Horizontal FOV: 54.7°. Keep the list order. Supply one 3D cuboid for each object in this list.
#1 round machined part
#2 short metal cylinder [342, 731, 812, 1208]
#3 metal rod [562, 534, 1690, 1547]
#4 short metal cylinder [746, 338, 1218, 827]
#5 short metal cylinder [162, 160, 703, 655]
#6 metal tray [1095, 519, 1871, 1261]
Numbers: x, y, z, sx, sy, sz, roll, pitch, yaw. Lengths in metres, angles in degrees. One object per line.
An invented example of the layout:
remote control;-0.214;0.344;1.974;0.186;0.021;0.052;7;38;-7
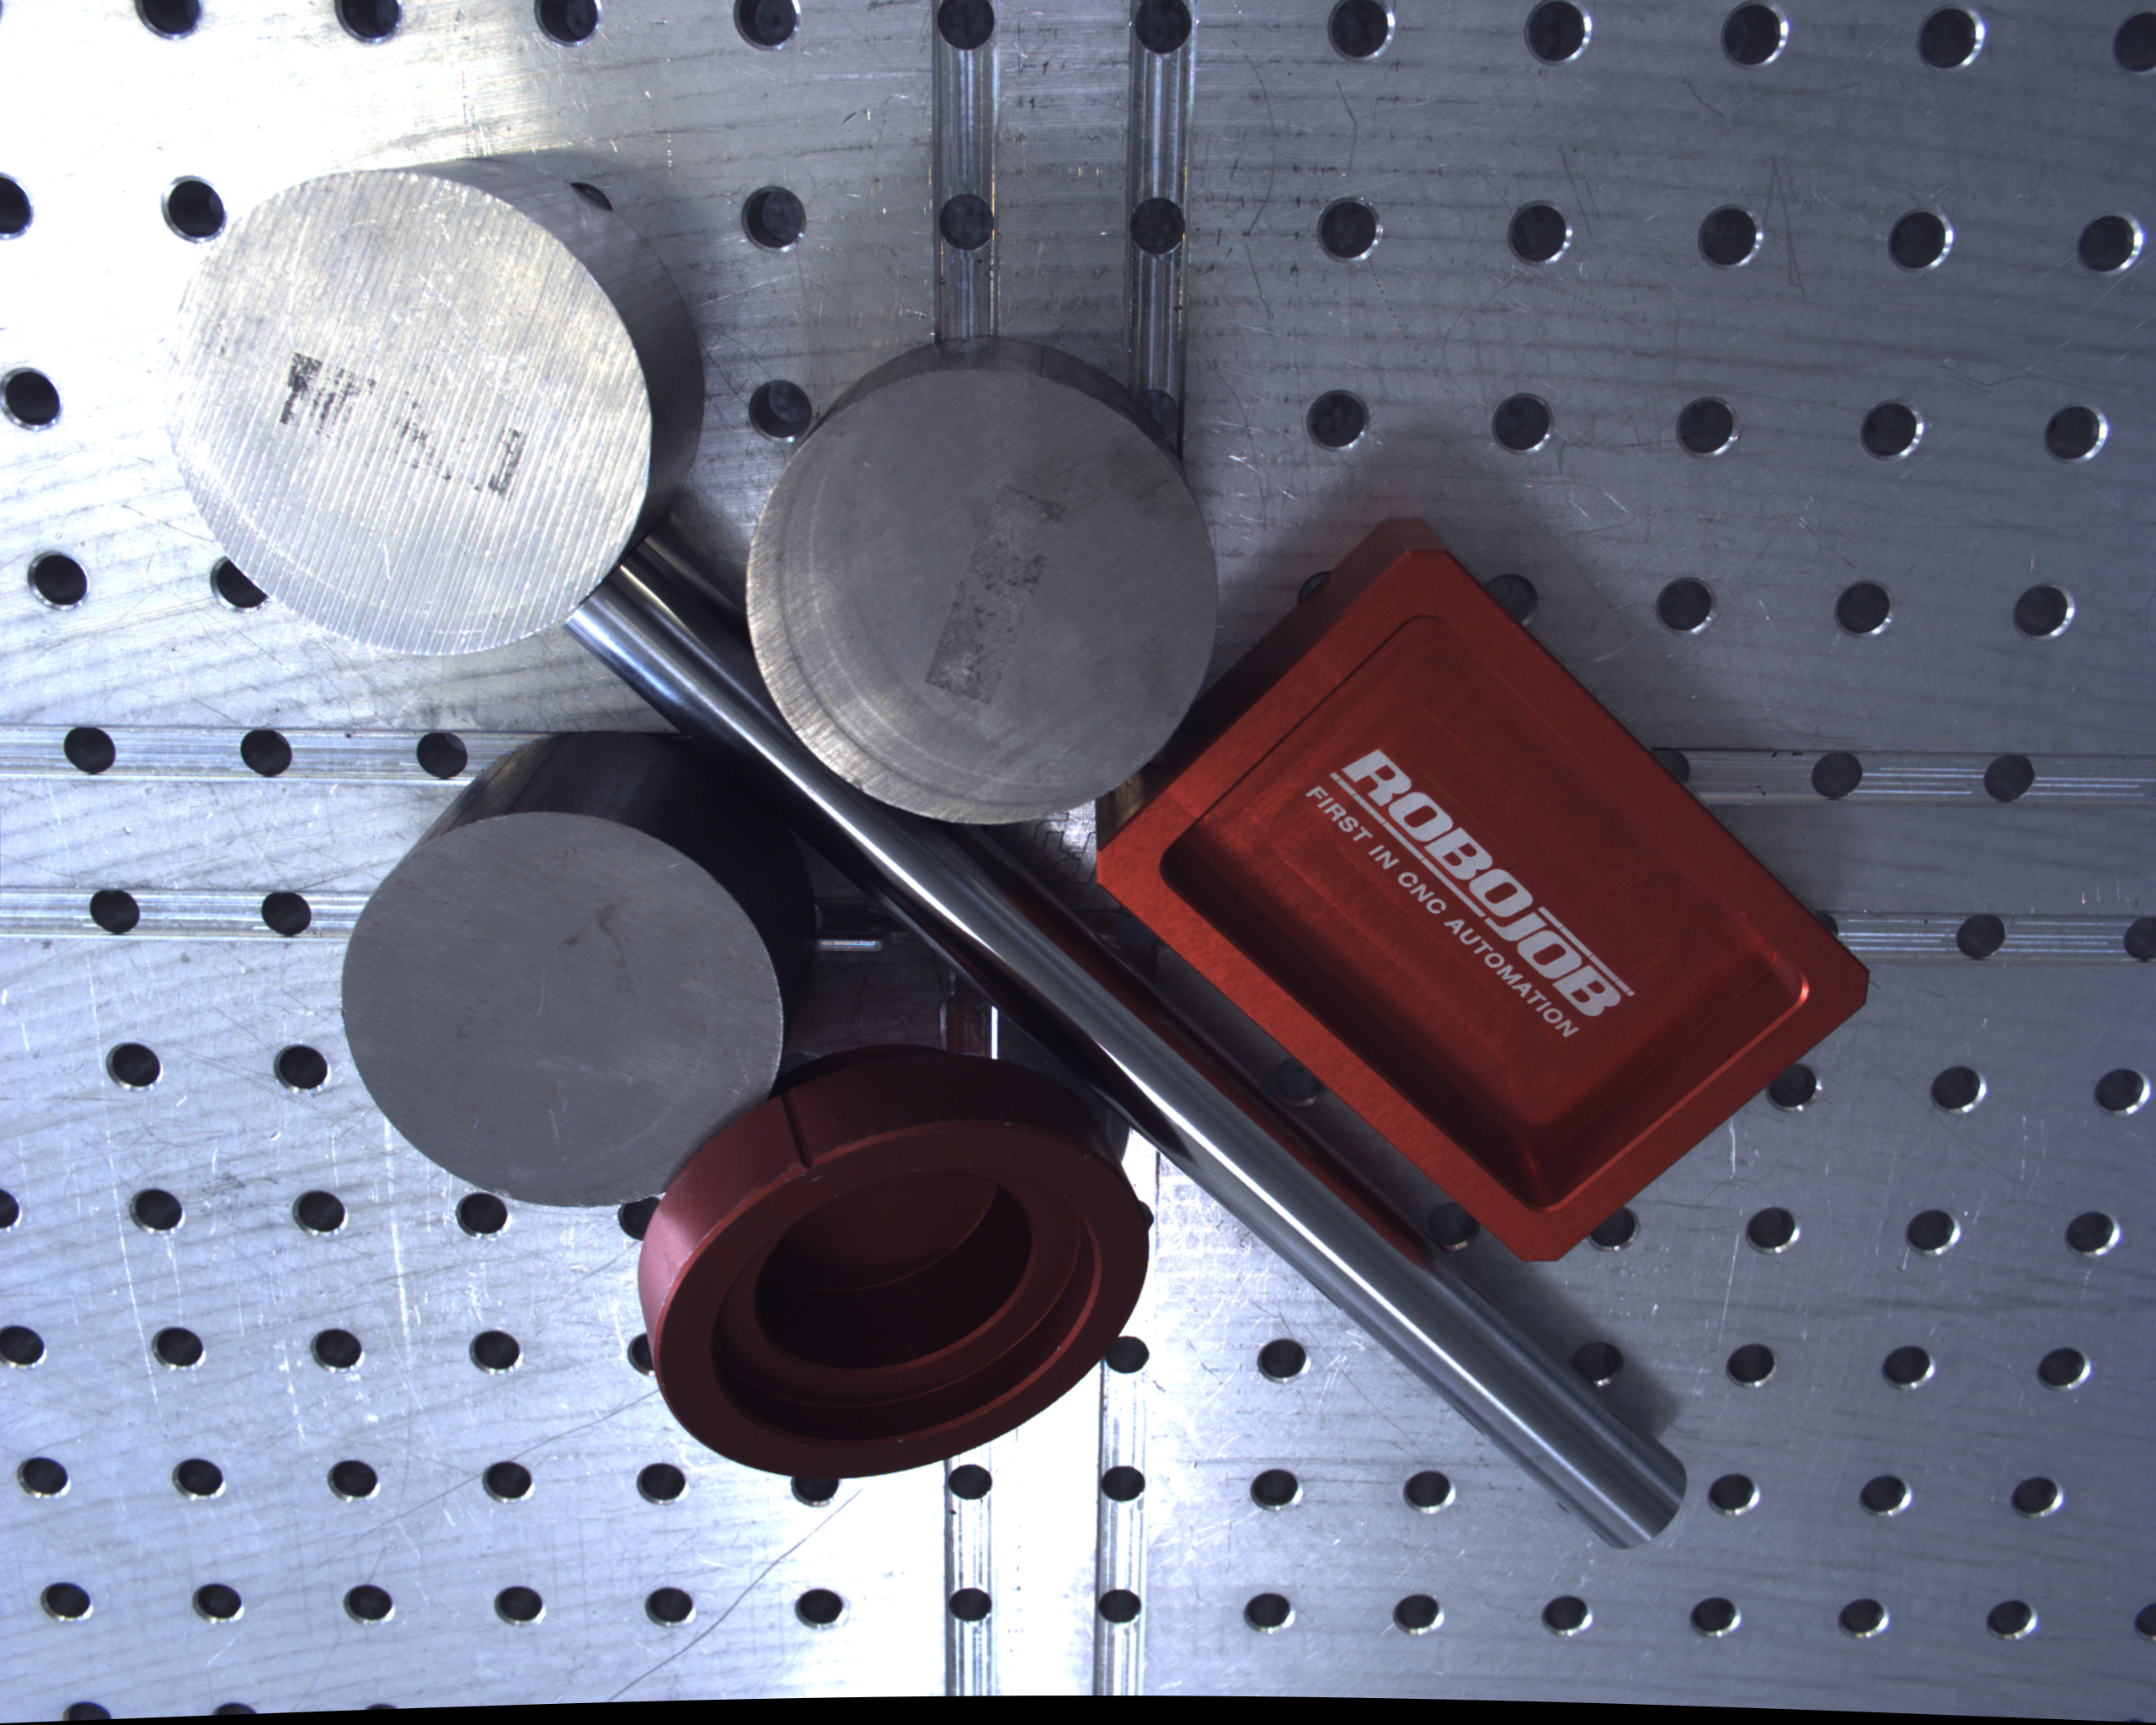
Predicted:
round machined part;-0.039;0.075;0.420;0.099;0.042;0.097;-11;127;-15
short metal cylinder;-0.094;0.020;0.406;0.081;0.050;0.079;0;110;0
metal rod;0.019;0.044;0.430;0.300;0.025;0.025;42;105;-14
short metal cylinder;-0.016;-0.052;0.380;0.081;0.050;0.079;0;110;0
short metal cylinder;-0.111;-0.082;0.369;0.081;0.050;0.079;0;110;0
metal tray;0.078;0.008;0.413;0.130;0.030;0.090;42;105;-14
